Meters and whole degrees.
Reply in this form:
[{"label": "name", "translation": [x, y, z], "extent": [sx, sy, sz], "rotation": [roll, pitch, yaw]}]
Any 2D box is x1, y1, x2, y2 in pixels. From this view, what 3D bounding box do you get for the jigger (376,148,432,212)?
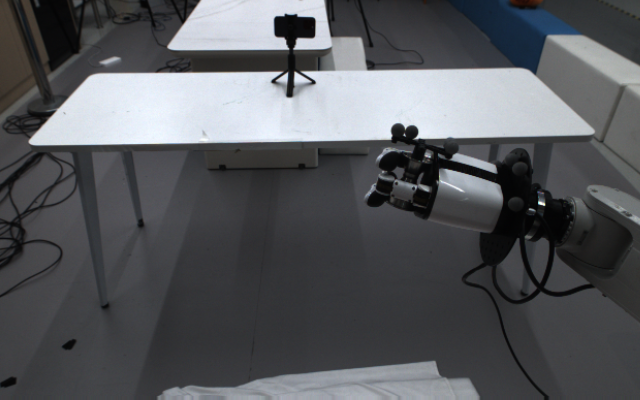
[{"label": "jigger", "translation": [0.120, -0.025, 0.643], "extent": [0.043, 0.071, 0.043], "rotation": [15, 17, -5]}]
